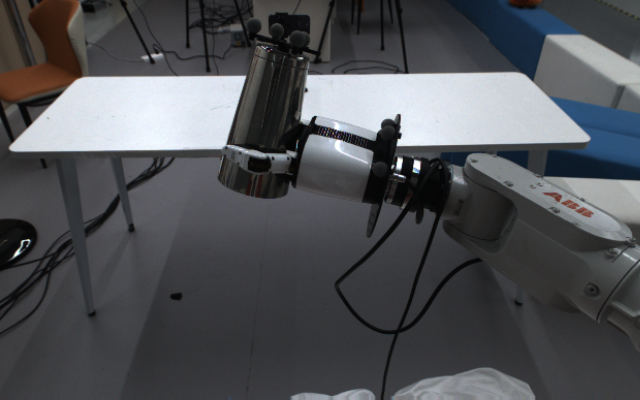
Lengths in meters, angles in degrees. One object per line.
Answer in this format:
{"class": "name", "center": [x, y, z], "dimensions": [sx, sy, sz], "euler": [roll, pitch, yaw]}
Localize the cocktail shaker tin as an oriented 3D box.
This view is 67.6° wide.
{"class": "cocktail shaker tin", "center": [-0.065, -0.098, 0.597], "dimensions": [0.093, 0.170, 0.093], "euler": [14, 20, -5]}
